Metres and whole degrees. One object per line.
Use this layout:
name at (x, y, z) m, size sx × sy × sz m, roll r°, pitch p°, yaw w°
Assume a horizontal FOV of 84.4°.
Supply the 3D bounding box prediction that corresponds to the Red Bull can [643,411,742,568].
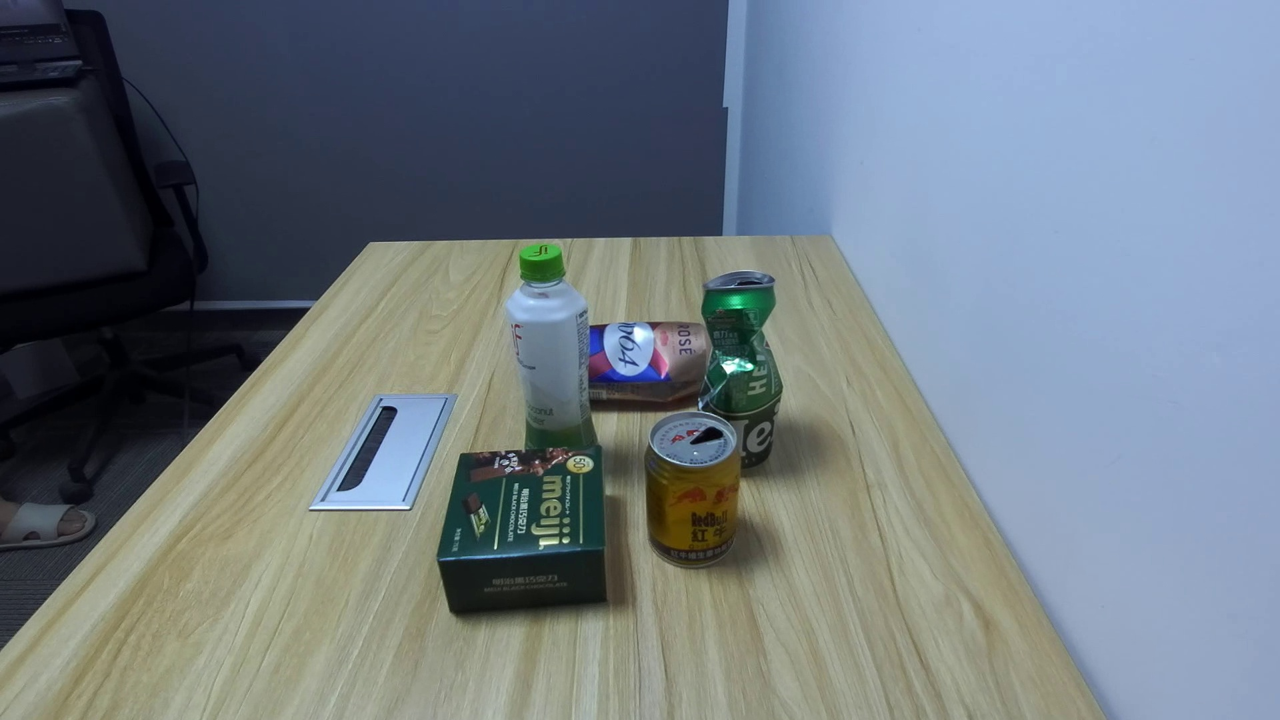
Red Bull can at (0.037, 0.089, 0.498) m, size 0.069 × 0.092 × 0.069 m, roll -1°, pitch 33°, yaw 1°

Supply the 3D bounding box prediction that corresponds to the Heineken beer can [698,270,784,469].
Heineken beer can at (0.081, 0.012, 0.567) m, size 0.067 × 0.159 × 0.078 m, roll -12°, pitch 26°, yaw -23°

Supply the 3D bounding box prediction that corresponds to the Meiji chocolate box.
Meiji chocolate box at (-0.078, 0.116, 0.502) m, size 0.109 × 0.056 × 0.109 m, roll -3°, pitch 32°, yaw -3°

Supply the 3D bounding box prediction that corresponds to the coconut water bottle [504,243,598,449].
coconut water bottle at (-0.068, 0.003, 0.553) m, size 0.063 × 0.189 × 0.063 m, roll -1°, pitch 30°, yaw 1°

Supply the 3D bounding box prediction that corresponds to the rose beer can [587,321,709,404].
rose beer can at (-0.009, 0.001, 0.674) m, size 0.168 × 0.069 × 0.070 m, roll -2°, pitch 11°, yaw -4°
